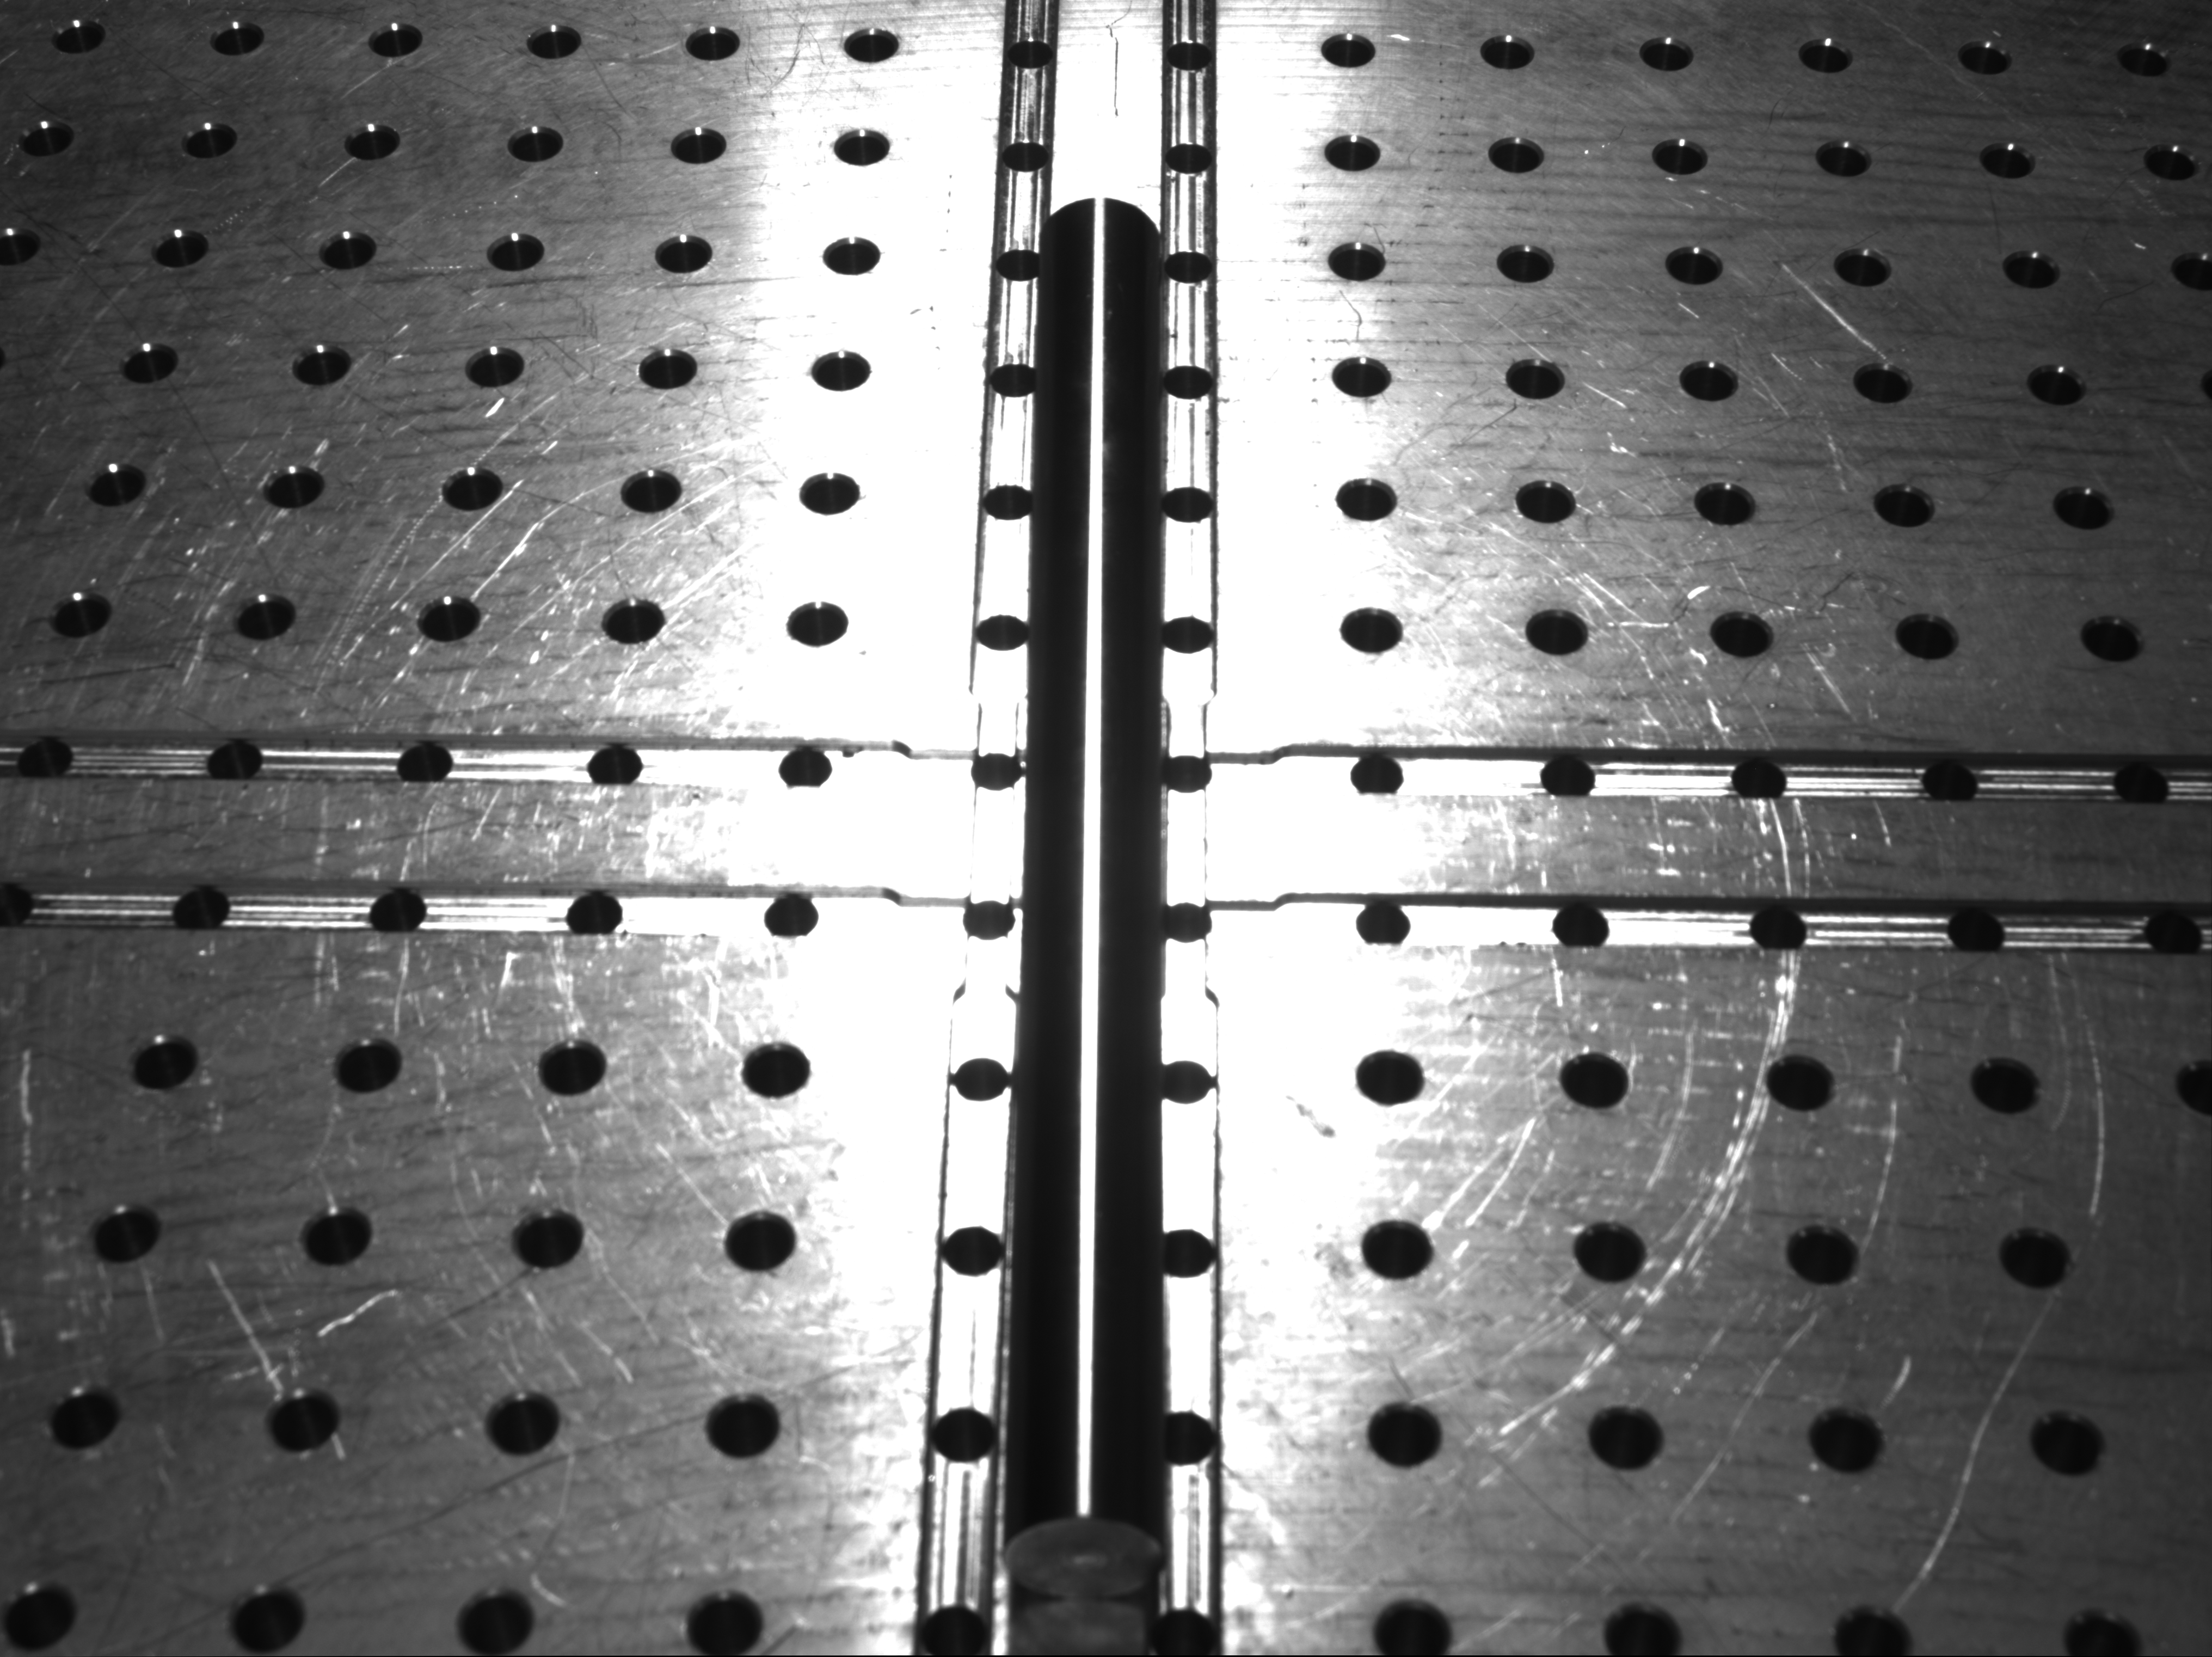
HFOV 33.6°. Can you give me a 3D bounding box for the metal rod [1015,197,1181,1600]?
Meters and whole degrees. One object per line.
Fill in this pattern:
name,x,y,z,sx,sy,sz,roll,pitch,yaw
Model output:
metal rod,0.000,-0.004,0.649,0.025,0.025,0.300,0,50,0
